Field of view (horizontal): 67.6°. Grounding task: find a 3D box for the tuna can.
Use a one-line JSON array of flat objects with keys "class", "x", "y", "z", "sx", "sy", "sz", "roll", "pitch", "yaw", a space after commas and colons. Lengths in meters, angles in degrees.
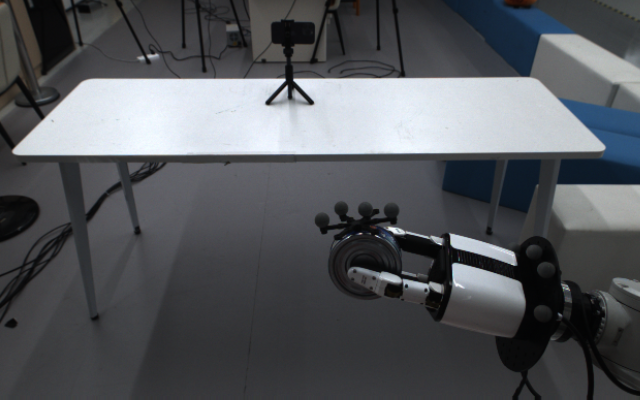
[{"class": "tuna can", "x": 0.055, "y": 0.071, "z": 0.565, "sx": 0.085, "sy": 0.085, "sz": 0.034, "roll": 6, "pitch": 18, "yaw": 5}]
